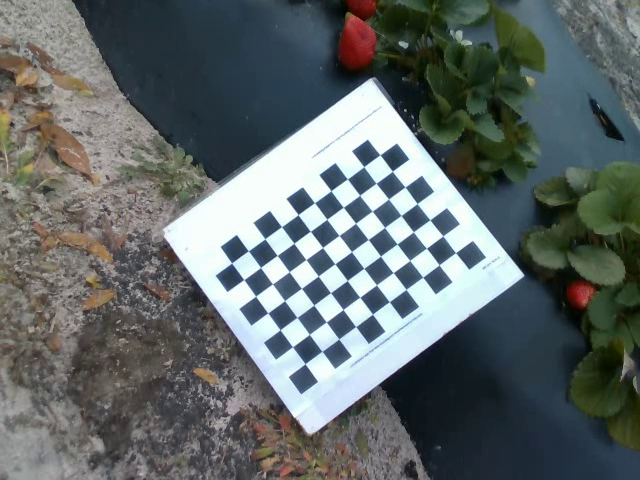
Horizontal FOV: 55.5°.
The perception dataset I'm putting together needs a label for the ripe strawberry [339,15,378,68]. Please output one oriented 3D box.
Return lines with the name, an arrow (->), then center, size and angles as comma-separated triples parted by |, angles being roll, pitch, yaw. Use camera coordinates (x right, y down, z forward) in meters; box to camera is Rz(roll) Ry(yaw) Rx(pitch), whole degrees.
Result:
ripe strawberry -> 0.042, -0.239, 0.714 | 0.057, 0.056, 0.065 | 12, -4, 19
